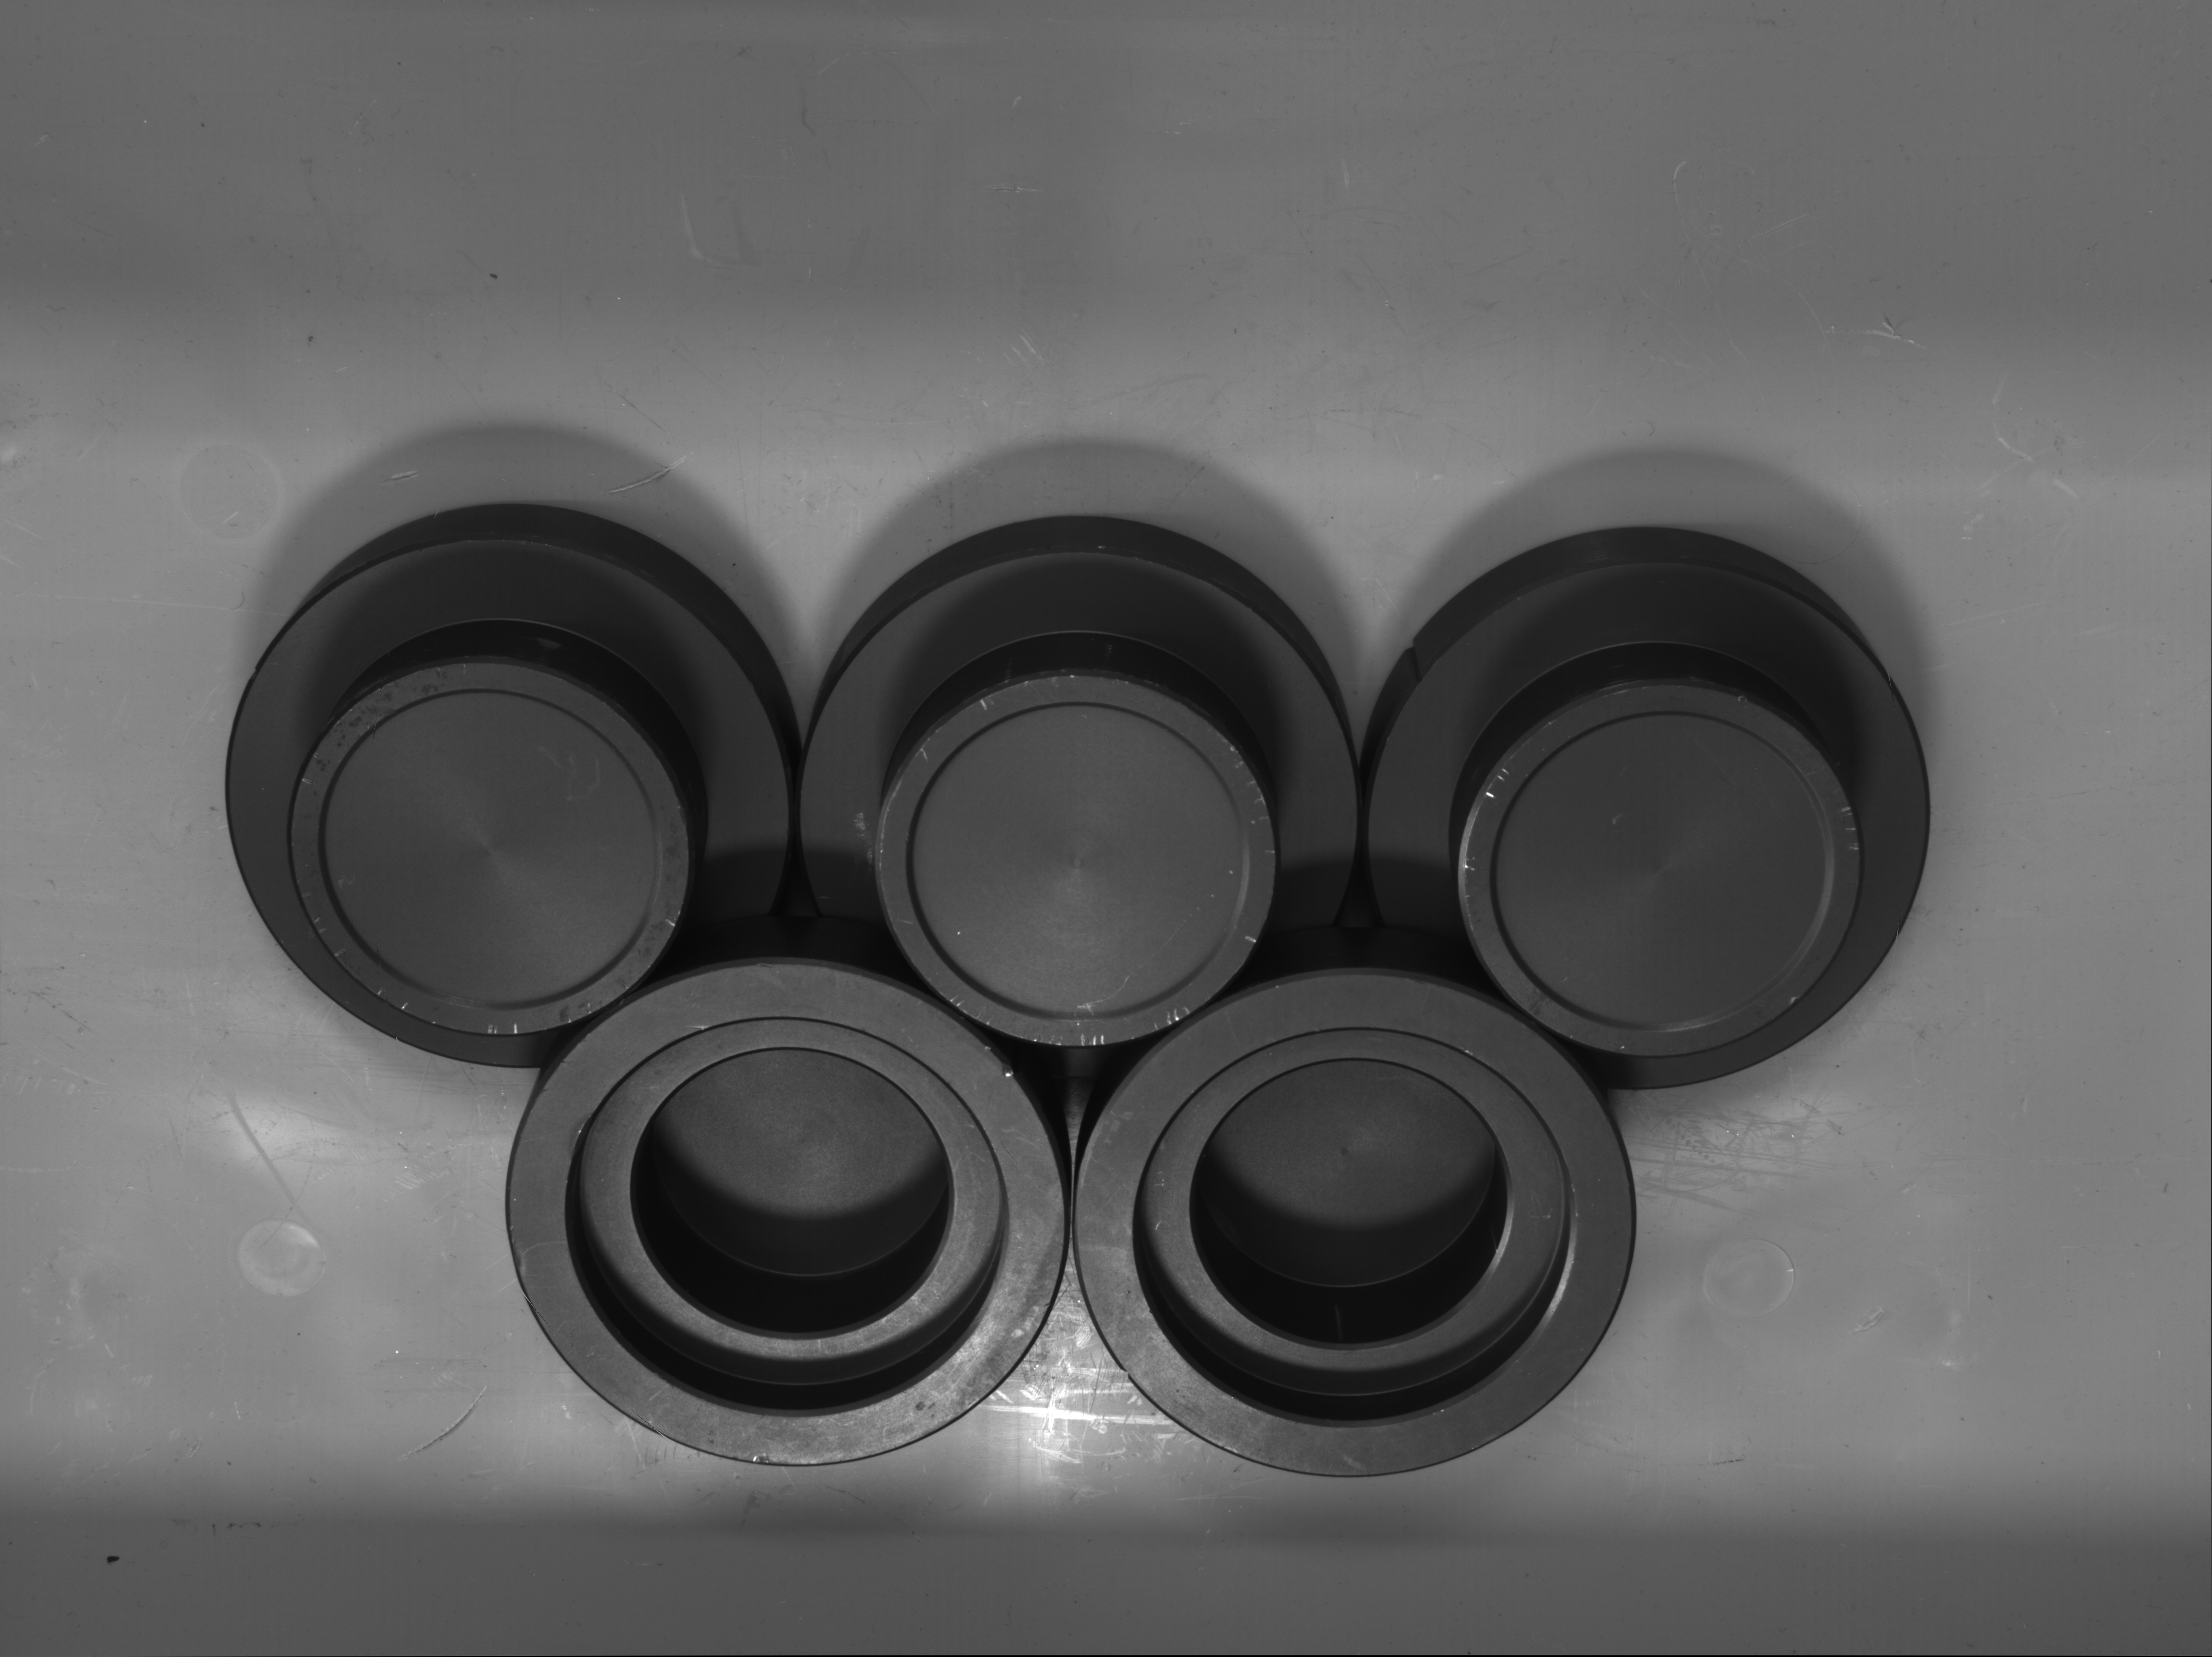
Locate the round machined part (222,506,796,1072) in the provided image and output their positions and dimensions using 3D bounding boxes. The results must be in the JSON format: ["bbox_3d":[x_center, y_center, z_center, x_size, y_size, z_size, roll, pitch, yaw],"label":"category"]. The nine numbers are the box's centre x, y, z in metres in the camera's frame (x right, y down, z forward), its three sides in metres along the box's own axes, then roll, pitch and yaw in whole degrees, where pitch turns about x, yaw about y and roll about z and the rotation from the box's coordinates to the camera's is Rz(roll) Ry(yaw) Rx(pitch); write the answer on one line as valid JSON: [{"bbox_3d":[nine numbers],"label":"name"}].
[{"bbox_3d":[-0.103,-0.003,0.631,0.098,0.042,0.098,0,109,-1],"label":"round machined part"}]

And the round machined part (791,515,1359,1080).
[{"bbox_3d":[-0.005,-0.001,0.632,0.098,0.042,0.098,0,109,1],"label":"round machined part"}]

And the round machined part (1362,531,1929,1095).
[{"bbox_3d":[0.093,0.001,0.633,0.098,0.042,0.098,0,109,1],"label":"round machined part"}]

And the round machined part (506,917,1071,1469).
[{"bbox_3d":[-0.055,0.061,0.655,0.098,0.042,0.098,0,110,0],"label":"round machined part"}]

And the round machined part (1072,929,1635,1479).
[{"bbox_3d":[0.043,0.063,0.656,0.098,0.042,0.098,0,110,0],"label":"round machined part"}]
